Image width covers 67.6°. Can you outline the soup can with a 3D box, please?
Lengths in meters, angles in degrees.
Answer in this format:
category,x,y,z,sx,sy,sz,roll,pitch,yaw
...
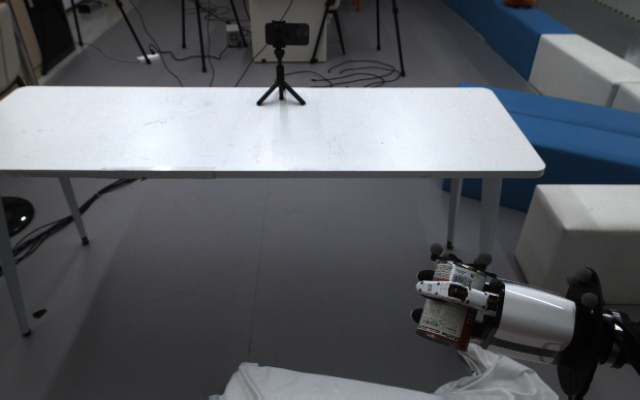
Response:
category,x,y,z,sx,sy,sz,roll,pitch,yaw
soup can,0.176,0.138,0.638,0.067,0.067,0.101,15,75,18
